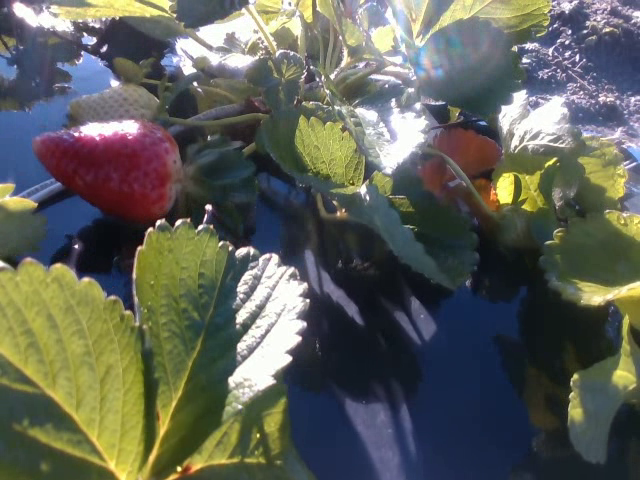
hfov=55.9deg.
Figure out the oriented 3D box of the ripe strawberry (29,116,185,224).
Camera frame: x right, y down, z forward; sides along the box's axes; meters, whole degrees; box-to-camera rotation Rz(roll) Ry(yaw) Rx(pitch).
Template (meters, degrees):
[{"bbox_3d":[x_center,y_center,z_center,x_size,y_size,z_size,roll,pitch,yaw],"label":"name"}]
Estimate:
[{"bbox_3d":[-0.089,-0.038,0.268,0.080,0.063,0.040,13,-26,-29],"label":"ripe strawberry"}]
